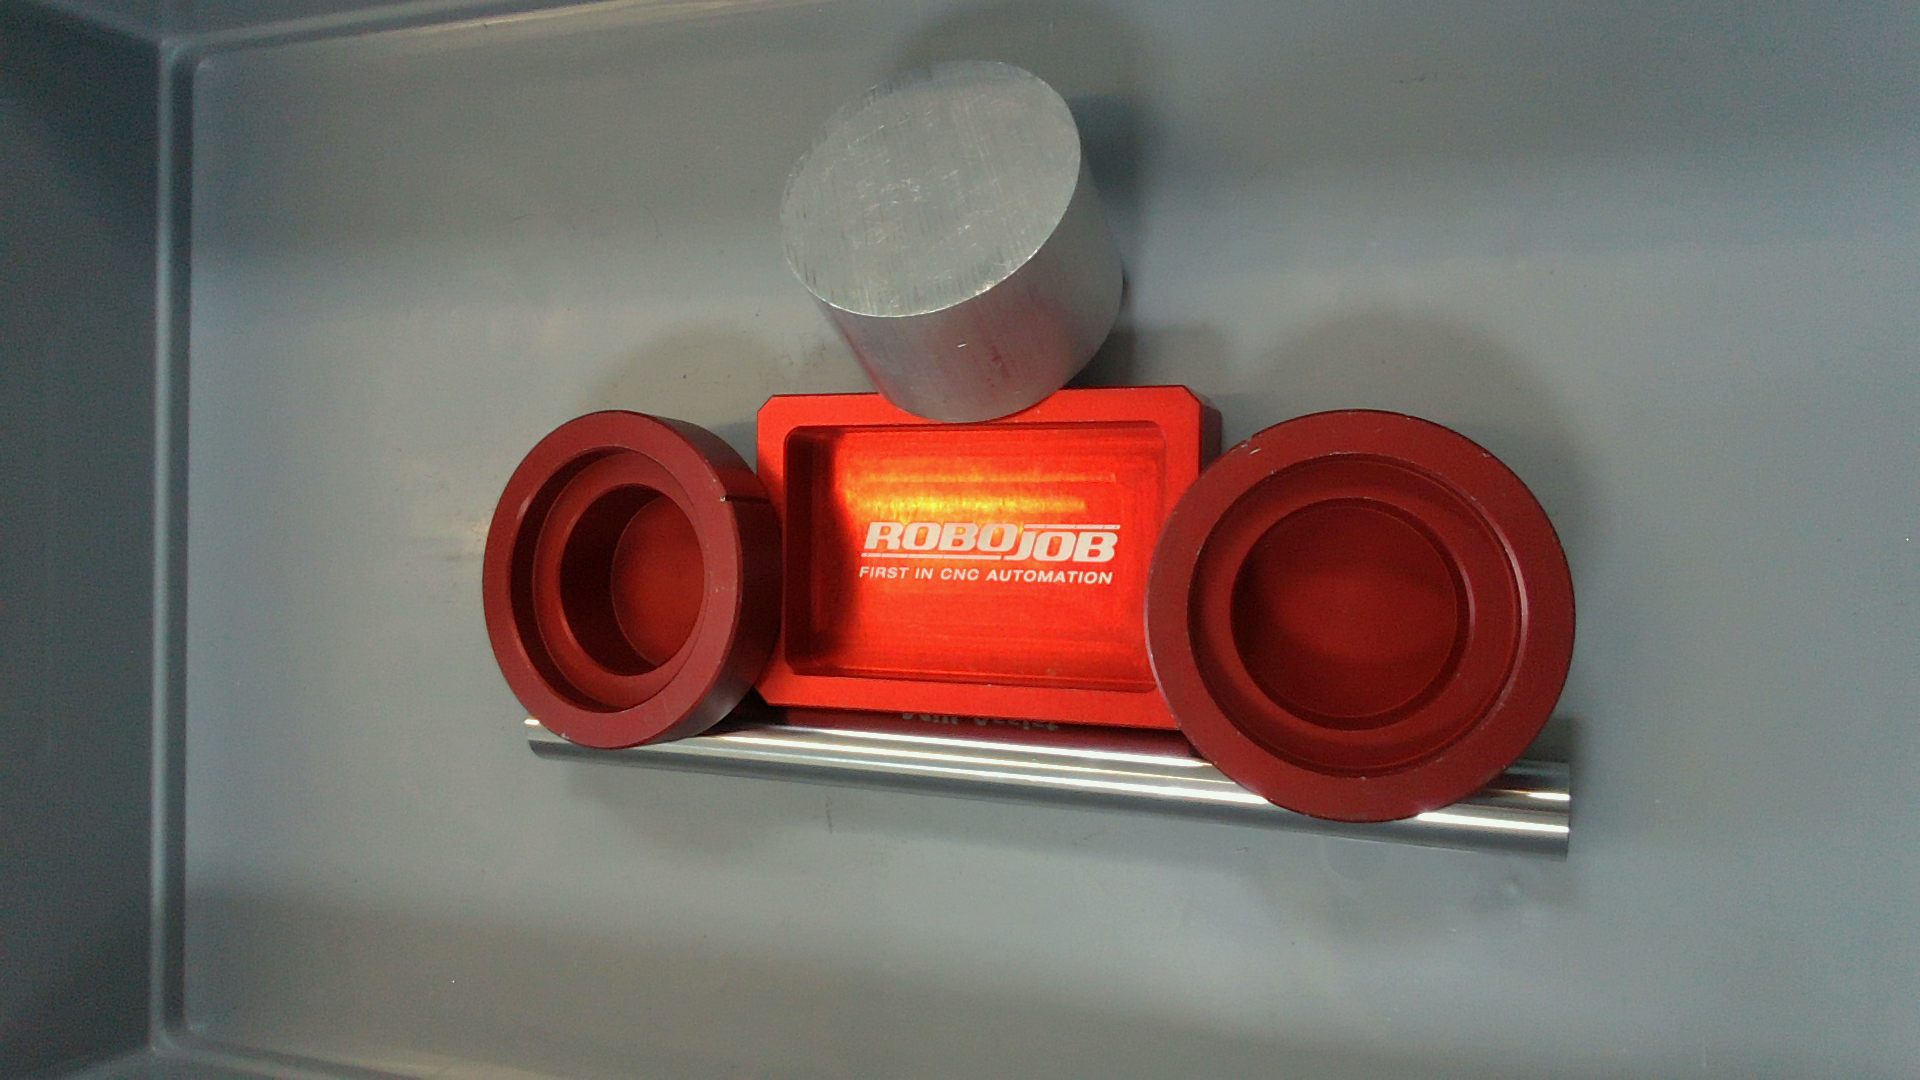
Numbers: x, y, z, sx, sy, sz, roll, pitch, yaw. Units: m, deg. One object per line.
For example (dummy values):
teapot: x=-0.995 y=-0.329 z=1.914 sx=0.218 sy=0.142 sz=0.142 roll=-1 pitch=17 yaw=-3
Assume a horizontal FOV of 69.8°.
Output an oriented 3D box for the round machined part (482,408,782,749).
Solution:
round machined part: x=-0.093 y=0.012 z=0.414 sx=0.098 sy=0.042 sz=0.098 roll=-1 pitch=87 yaw=28

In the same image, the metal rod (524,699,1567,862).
metal rod: x=0.009 y=0.063 z=0.391 sx=0.299 sy=0.025 sz=0.025 roll=2 pitch=91 yaw=20

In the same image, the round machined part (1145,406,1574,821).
round machined part: x=0.097 y=0.018 z=0.345 sx=0.098 sy=0.042 sz=0.098 roll=0 pitch=88 yaw=12

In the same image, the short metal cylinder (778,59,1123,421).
short metal cylinder: x=-0.001 y=-0.079 z=0.366 sx=0.080 sy=0.050 sz=0.080 roll=-8 pitch=61 yaw=16

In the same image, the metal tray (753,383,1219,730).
metal tray: x=0.006 y=0.003 z=0.389 sx=0.130 sy=0.030 sz=0.090 roll=1 pitch=91 yaw=19
